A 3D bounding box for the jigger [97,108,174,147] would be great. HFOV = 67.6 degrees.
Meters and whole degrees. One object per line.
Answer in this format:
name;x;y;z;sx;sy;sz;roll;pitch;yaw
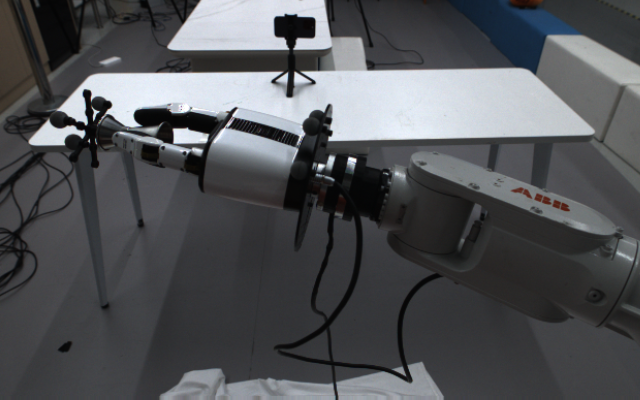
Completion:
jigger;-0.195;-0.073;0.530;0.071;0.043;0.043;8;35;5
